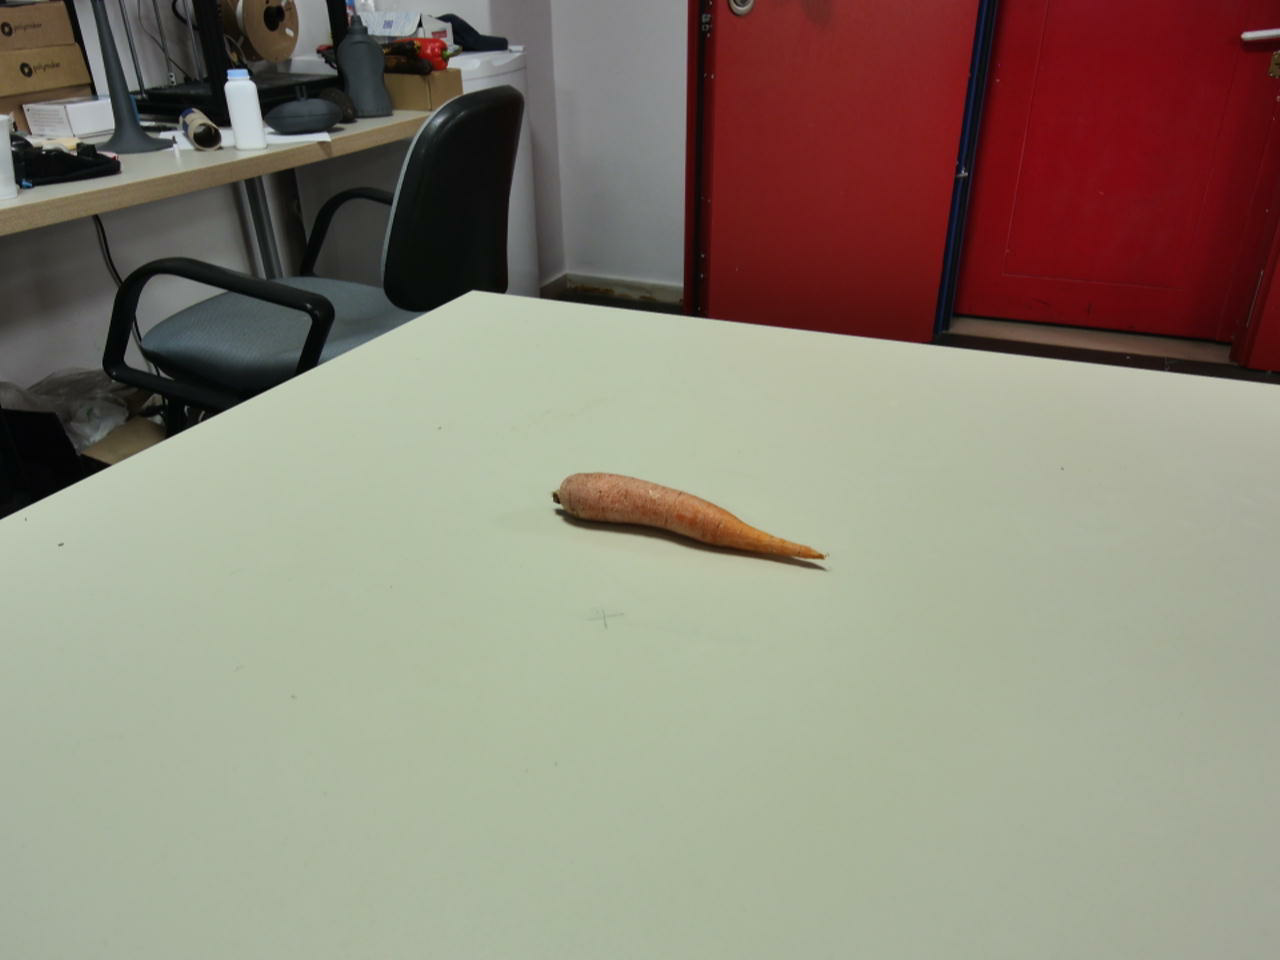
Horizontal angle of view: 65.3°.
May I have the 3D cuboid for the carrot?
[{"bbox_3d":[0.024,0.019,0.555,0.163,0.029,0.031,11,27,22],"label":"carrot"}]
